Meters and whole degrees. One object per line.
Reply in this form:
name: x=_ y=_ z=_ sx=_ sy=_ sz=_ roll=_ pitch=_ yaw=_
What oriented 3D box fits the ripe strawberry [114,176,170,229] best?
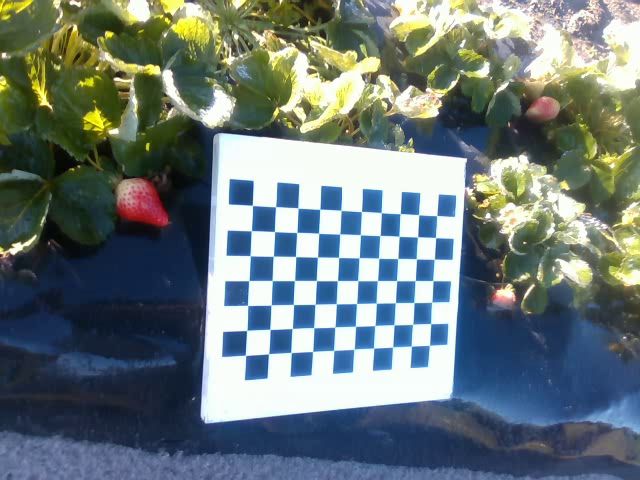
ripe strawberry: x=-0.174 y=-0.031 z=0.597 sx=0.065 sy=0.040 sz=0.040 roll=46 pitch=-19 yaw=-19
